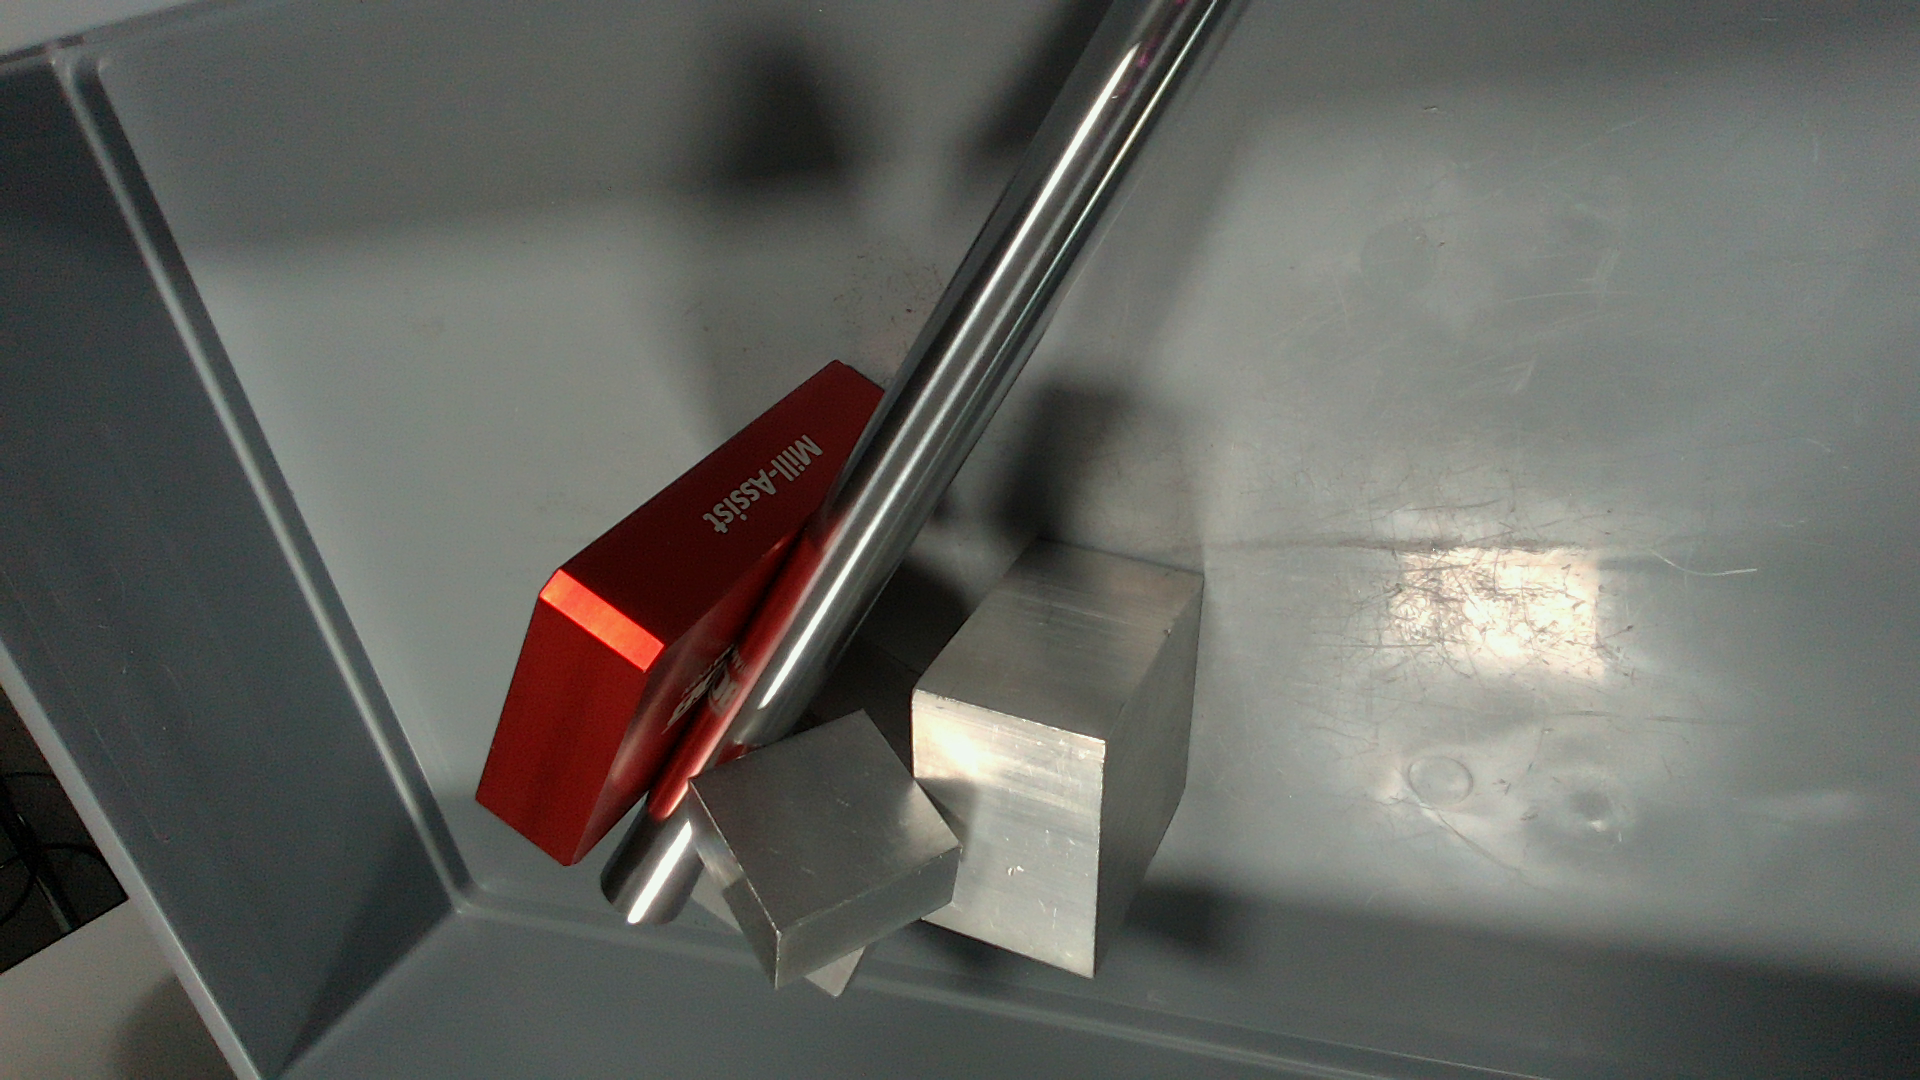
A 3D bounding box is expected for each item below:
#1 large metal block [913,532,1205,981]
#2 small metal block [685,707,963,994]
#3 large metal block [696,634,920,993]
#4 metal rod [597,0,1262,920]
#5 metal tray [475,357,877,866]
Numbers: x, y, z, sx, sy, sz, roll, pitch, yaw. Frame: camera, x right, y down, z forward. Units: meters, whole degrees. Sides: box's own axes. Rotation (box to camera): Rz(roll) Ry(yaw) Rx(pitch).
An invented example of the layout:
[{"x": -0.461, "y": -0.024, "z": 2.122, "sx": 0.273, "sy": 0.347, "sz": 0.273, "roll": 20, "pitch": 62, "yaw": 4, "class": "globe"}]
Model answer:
[{"x": 0.029, "y": 0.056, "z": 0.377, "sx": 0.050, "sy": 0.080, "sz": 0.080, "roll": 13, "pitch": 124, "yaw": 21, "class": "large metal block"}, {"x": -0.035, "y": 0.076, "z": 0.345, "sx": 0.050, "sy": 0.050, "sz": 0.025, "roll": 50, "pitch": 146, "yaw": 35, "class": "small metal block"}, {"x": -0.043, "y": 0.077, "z": 0.429, "sx": 0.080, "sy": 0.080, "sz": 0.050, "roll": 32, "pitch": 129, "yaw": 8, "class": "large metal block"}, {"x": -0.013, "y": -0.020, "z": 0.328, "sx": 0.025, "sy": 0.025, "sz": 0.299, "roll": 35, "pitch": 112, "yaw": 5, "class": "metal rod"}, {"x": -0.067, "y": 0.015, "z": 0.369, "sx": 0.030, "sy": 0.130, "sz": 0.090, "roll": 35, "pitch": 130, "yaw": 6, "class": "metal tray"}]
